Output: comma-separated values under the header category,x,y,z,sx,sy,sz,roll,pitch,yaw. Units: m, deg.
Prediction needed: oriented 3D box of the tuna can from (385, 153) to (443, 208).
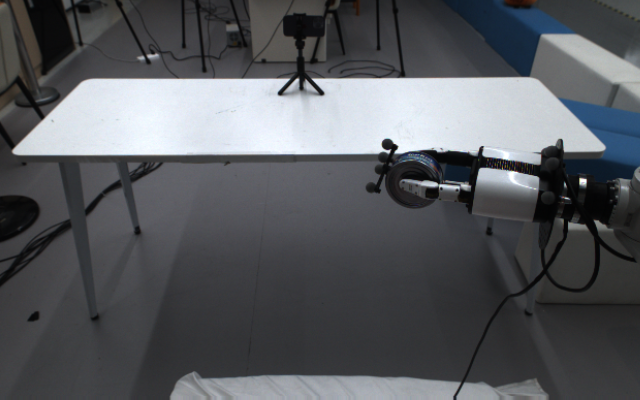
category,x,y,z,sx,sy,sz,roll,pitch,yaw
tuna can,0.146,-0.032,0.749,0.085,0.085,0.034,12,30,14
